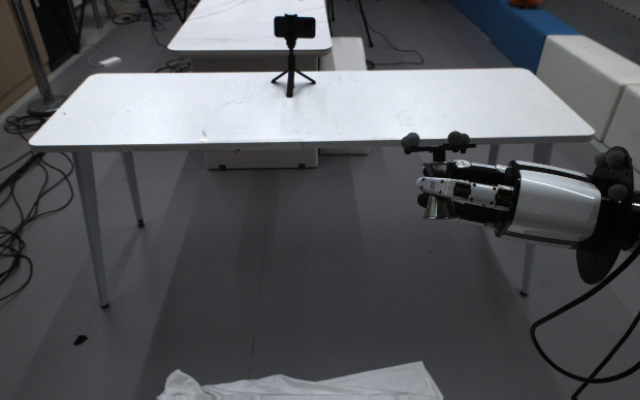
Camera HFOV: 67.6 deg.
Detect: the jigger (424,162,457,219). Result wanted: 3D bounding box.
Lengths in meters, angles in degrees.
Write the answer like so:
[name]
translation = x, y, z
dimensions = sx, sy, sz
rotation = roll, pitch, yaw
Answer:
[jigger]
translation = 0.146, -0.012, 0.593
dimensions = 0.043, 0.071, 0.043
rotation = -2, 3, 0
